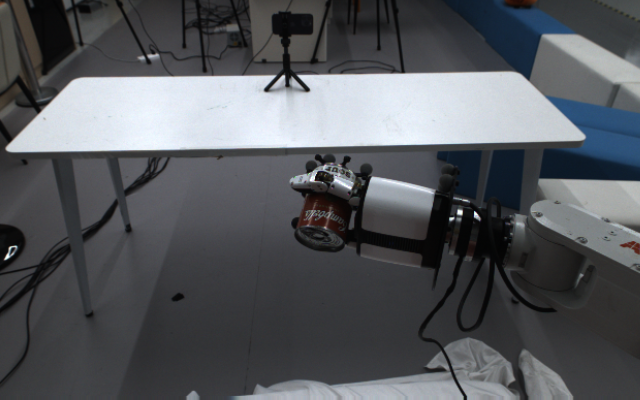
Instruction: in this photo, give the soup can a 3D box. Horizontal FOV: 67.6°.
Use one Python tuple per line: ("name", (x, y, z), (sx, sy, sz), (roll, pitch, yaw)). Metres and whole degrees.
("soup can", (0.011, 0.009, 0.644), (0.067, 0.067, 0.101), (9, 58, 10))
